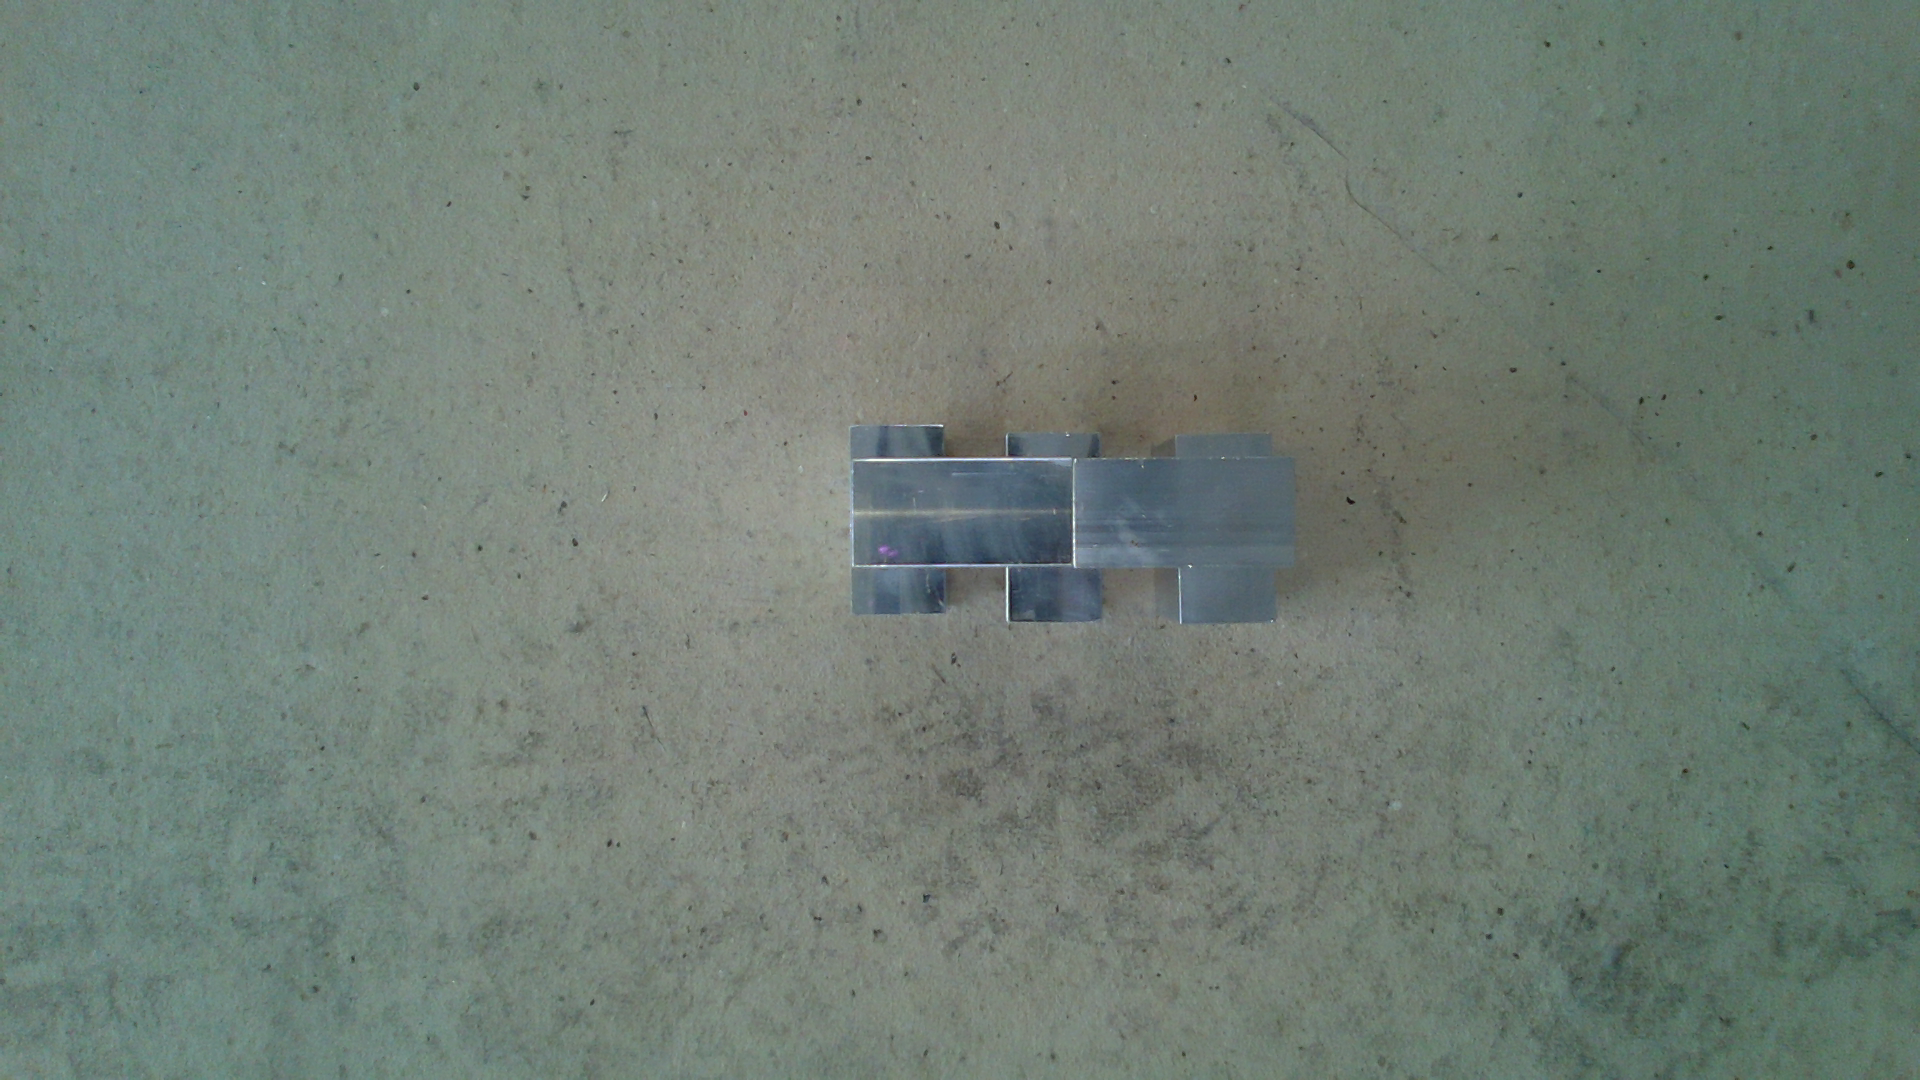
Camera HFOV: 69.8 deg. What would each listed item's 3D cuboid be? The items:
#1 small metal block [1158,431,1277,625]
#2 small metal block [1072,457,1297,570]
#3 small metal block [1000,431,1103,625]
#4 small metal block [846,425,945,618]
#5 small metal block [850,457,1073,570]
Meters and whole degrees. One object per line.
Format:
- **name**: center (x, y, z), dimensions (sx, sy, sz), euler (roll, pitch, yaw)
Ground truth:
- **small metal block**: center (0.070, -0.003, 0.384), dimensions (0.025, 0.050, 0.050), euler (-1, 90, 1)
- **small metal block**: center (0.051, -0.006, 0.333), dimensions (0.050, 0.050, 0.025), euler (0, 90, 0)
- **small metal block**: center (0.025, -0.003, 0.384), dimensions (0.025, 0.050, 0.050), euler (-1, 90, 1)
- **small metal block**: center (-0.017, -0.005, 0.382), dimensions (0.025, 0.050, 0.050), euler (-1, 90, 1)
- **small metal block**: center (0.000, -0.006, 0.334), dimensions (0.050, 0.050, 0.025), euler (0, 90, 0)
